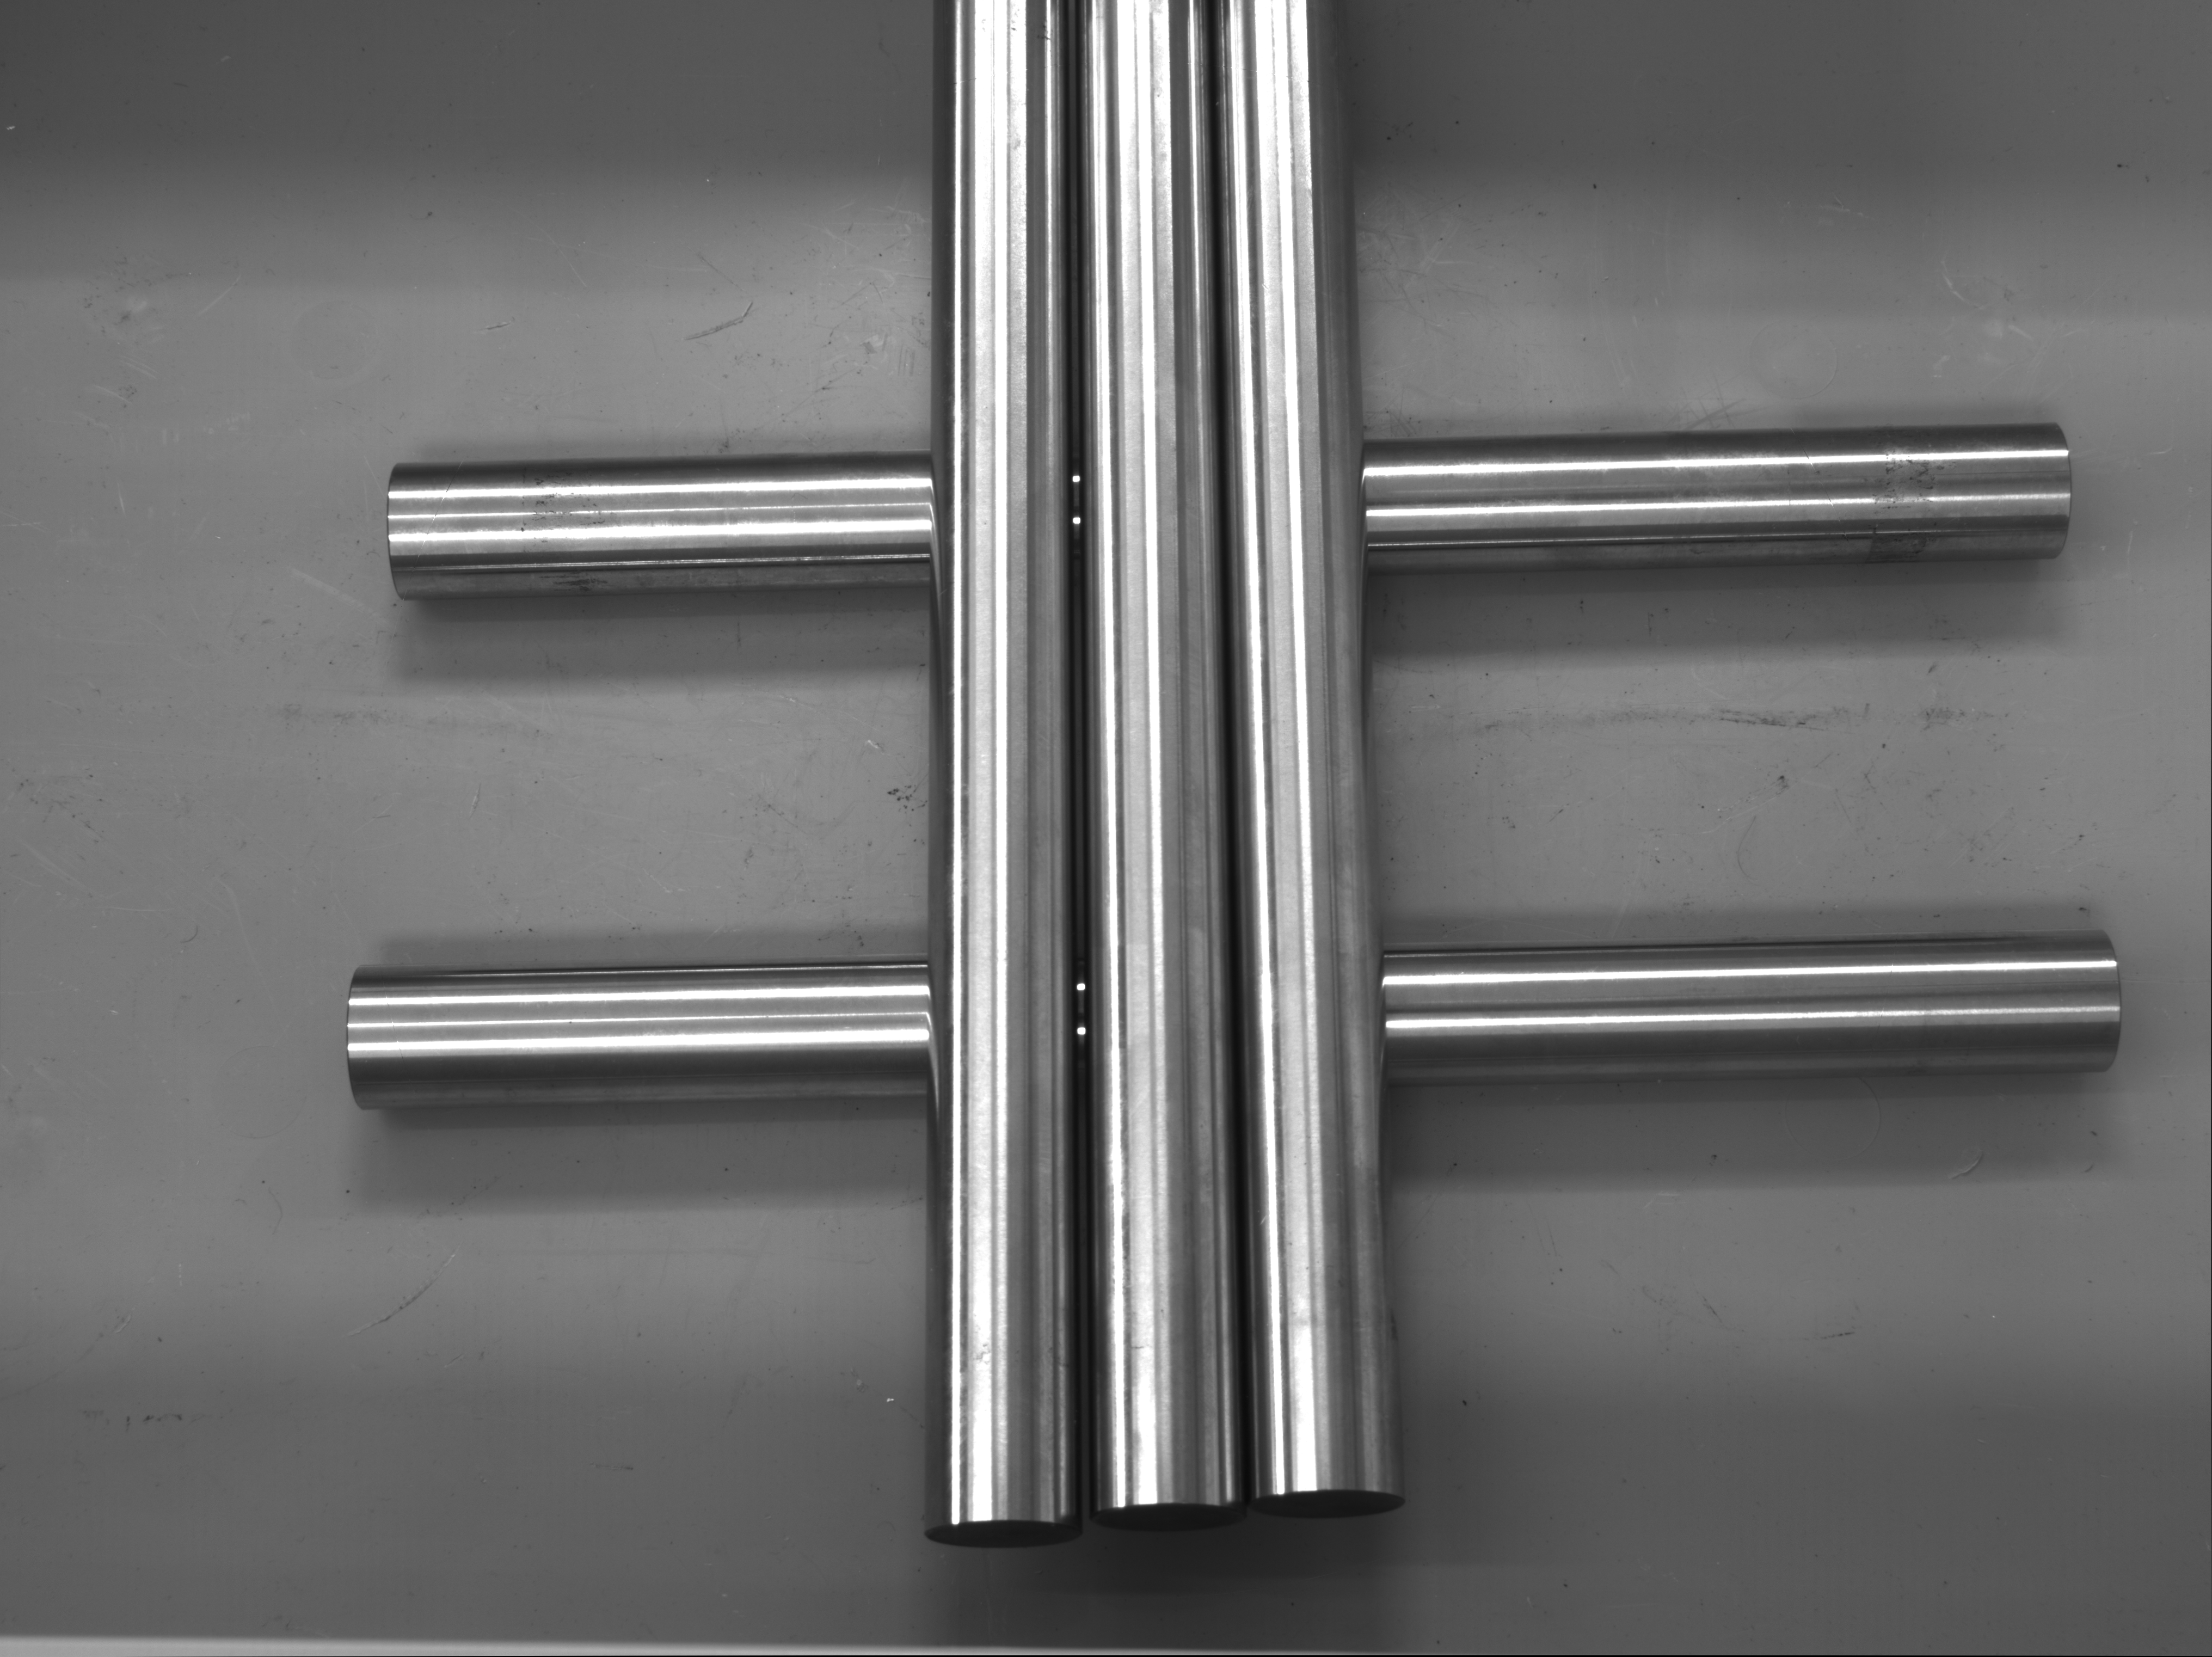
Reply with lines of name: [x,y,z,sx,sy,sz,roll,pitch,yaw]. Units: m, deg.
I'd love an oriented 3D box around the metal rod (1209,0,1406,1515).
metal rod: [0.033,-0.035,0.629,0.025,0.025,0.300,-1,70,0]

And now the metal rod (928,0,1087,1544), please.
metal rod: [-0.017,-0.030,0.627,0.025,0.025,0.300,-1,70,0]

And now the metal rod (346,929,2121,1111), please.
metal rod: [0.022,0.033,0.632,0.300,0.025,0.025,-1,70,0]

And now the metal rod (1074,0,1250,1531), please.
metal rod: [0.008,-0.032,0.628,0.025,0.025,0.300,-1,70,0]

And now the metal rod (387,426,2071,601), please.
metal rod: [0.022,-0.057,0.665,0.300,0.025,0.025,-1,70,-1]
